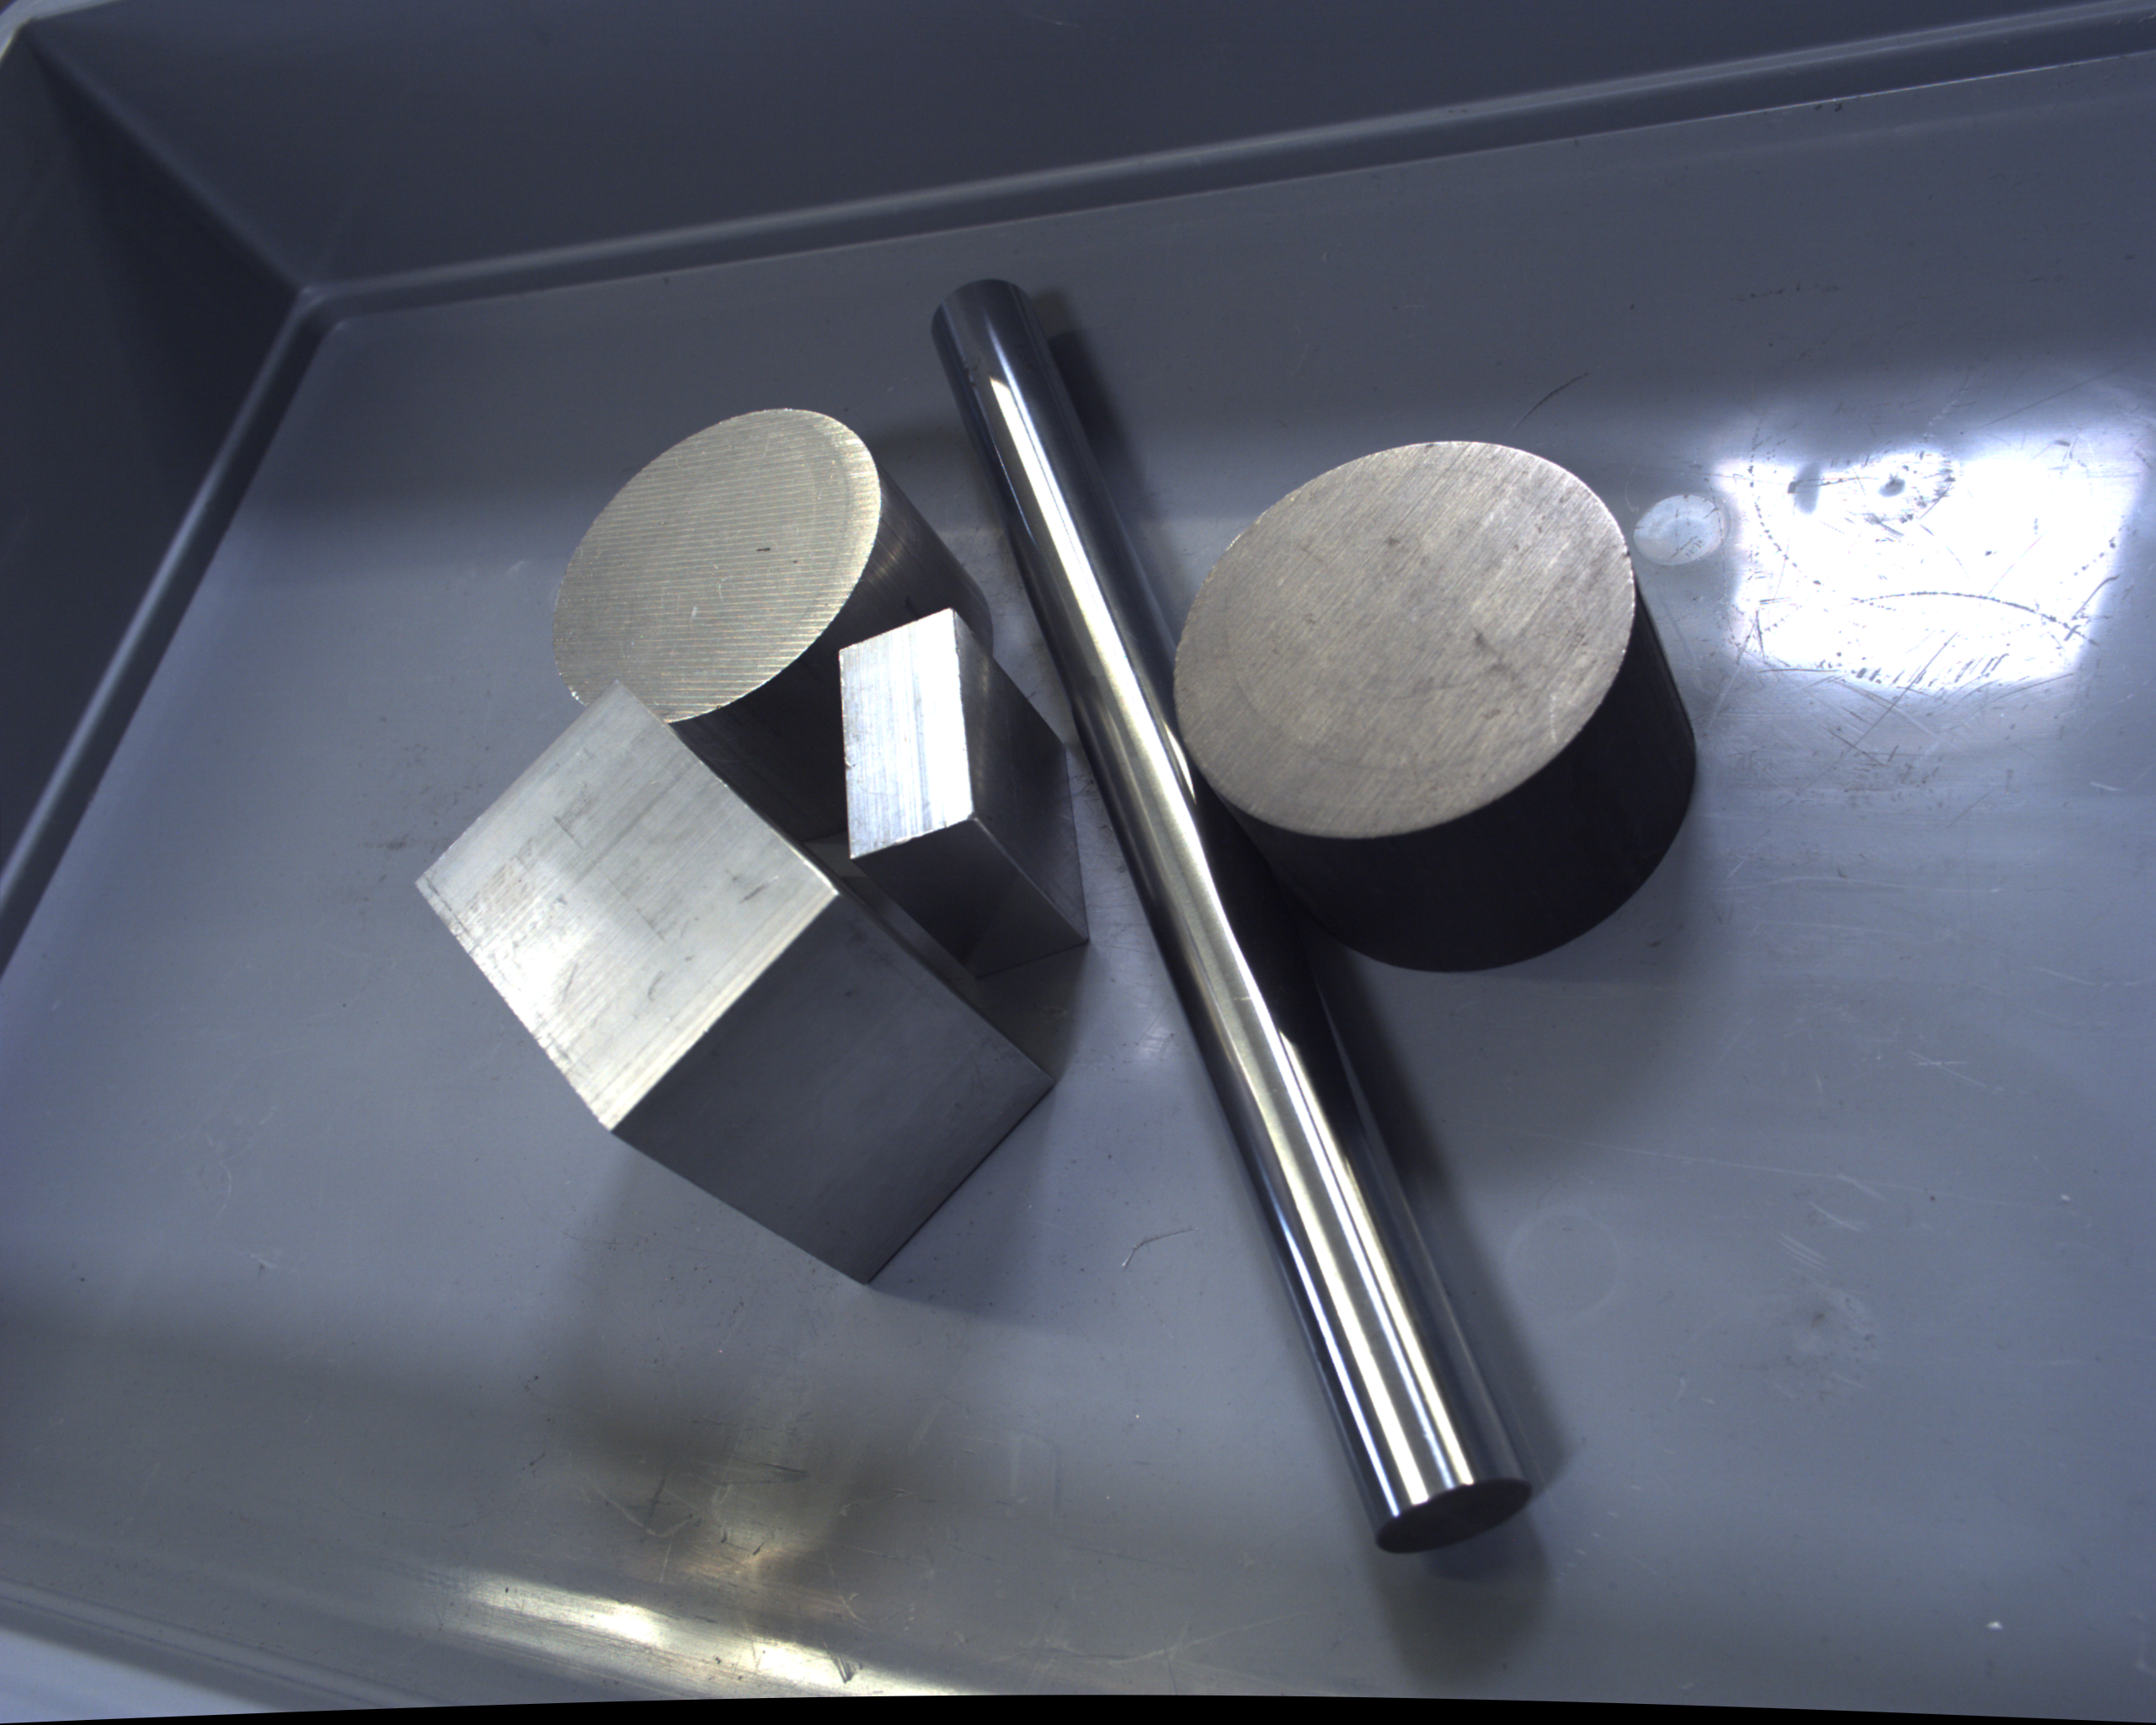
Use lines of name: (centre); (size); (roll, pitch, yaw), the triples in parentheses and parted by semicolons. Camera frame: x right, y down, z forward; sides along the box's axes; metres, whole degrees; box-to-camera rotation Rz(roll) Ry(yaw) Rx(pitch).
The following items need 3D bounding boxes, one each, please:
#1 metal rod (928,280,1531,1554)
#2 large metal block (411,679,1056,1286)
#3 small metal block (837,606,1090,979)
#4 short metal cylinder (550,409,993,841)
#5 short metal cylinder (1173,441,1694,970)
metal rod: (0.016, -0.014, 0.403); (0.025, 0.025, 0.299); (-28, 52, 11)
large metal block: (-0.063, 0.023, 0.386); (0.050, 0.080, 0.080); (-48, 51, -4)
small metal block: (-0.022, -0.013, 0.406); (0.025, 0.050, 0.050); (-19, 54, 17)
short metal cylinder: (-0.066, -0.051, 0.453); (0.080, 0.050, 0.080); (-13, 56, 21)
short metal cylinder: (0.064, -0.027, 0.371); (0.080, 0.050, 0.080); (-13, 56, 21)
